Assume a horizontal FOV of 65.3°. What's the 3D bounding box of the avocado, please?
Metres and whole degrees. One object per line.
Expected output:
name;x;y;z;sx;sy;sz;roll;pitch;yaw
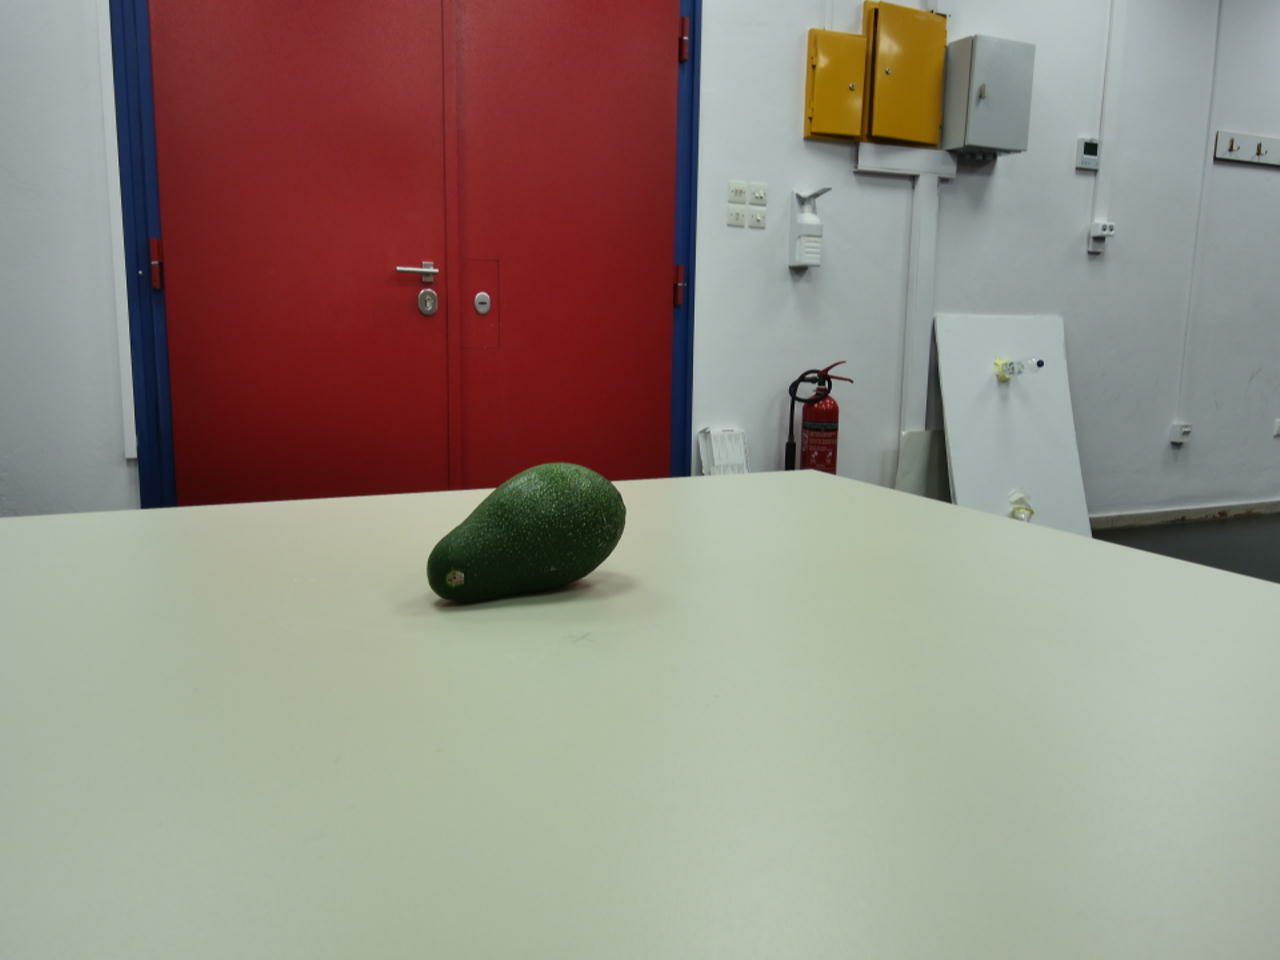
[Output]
avocado;-0.067;0.028;0.594;0.123;0.076;0.074;-2;8;-19
